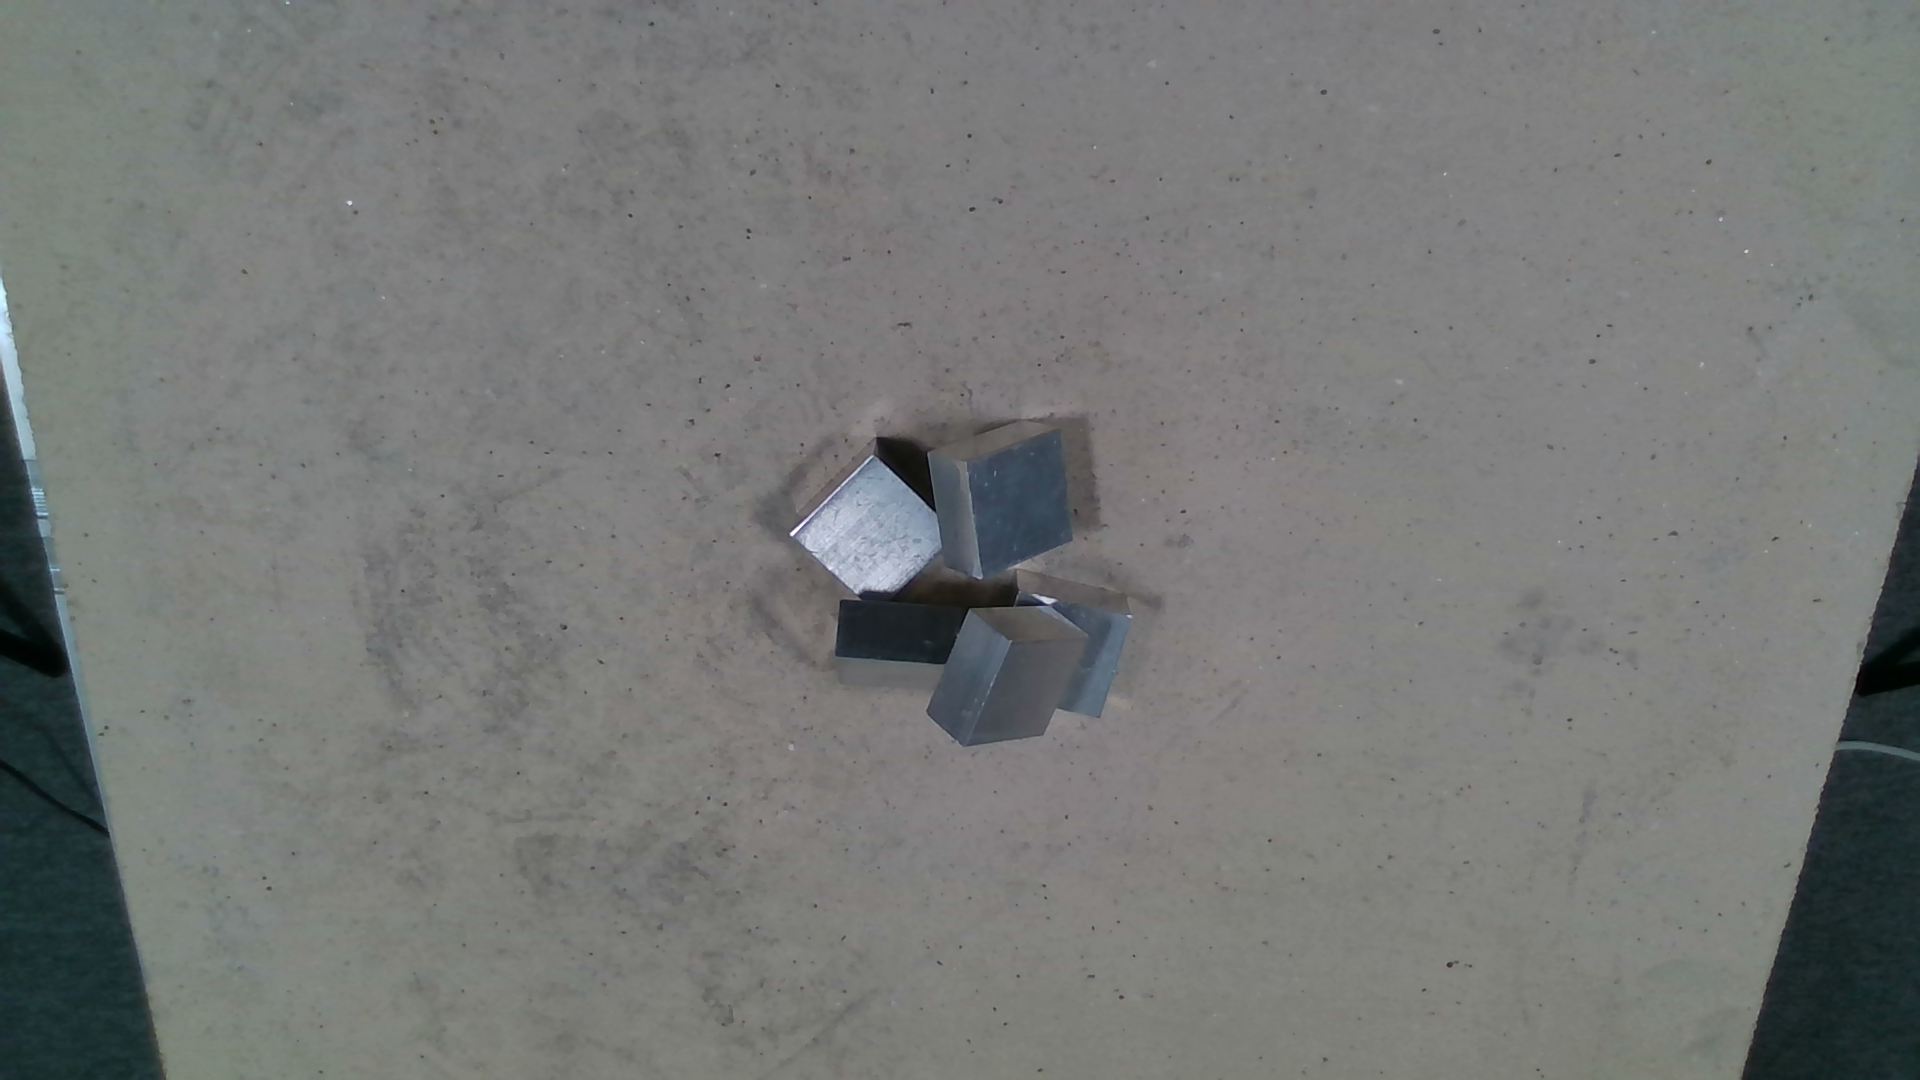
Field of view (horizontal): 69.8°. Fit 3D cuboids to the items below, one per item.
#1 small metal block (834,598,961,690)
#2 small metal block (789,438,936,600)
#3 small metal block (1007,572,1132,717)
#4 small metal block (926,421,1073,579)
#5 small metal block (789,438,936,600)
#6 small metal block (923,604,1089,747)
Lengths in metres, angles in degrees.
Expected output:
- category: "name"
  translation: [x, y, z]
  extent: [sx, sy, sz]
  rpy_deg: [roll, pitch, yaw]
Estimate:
- category: "small metal block"
  translation: [-0.027, 0.045, 0.586]
  extent: [0.050, 0.050, 0.025]
  rpy_deg: [4, 72, -2]
- category: "small metal block"
  translation: [-0.036, -0.007, 0.582]
  extent: [0.050, 0.025, 0.050]
  rpy_deg: [-43, 105, 14]
- category: "small metal block"
  translation: [0.043, 0.045, 0.601]
  extent: [0.050, 0.025, 0.050]
  rpy_deg: [13, 110, -5]
- category: "small metal block"
  translation: [0.017, -0.018, 0.565]
  extent: [0.050, 0.025, 0.050]
  rpy_deg: [-22, 114, -32]
- category: "small metal block"
  translation: [-0.036, -0.007, 0.582]
  extent: [0.050, 0.025, 0.050]
  rpy_deg: [-43, 105, 14]
- category: "small metal block"
  translation: [0.019, 0.055, 0.564]
  extent: [0.050, 0.025, 0.050]
  rpy_deg: [1, 119, -47]
